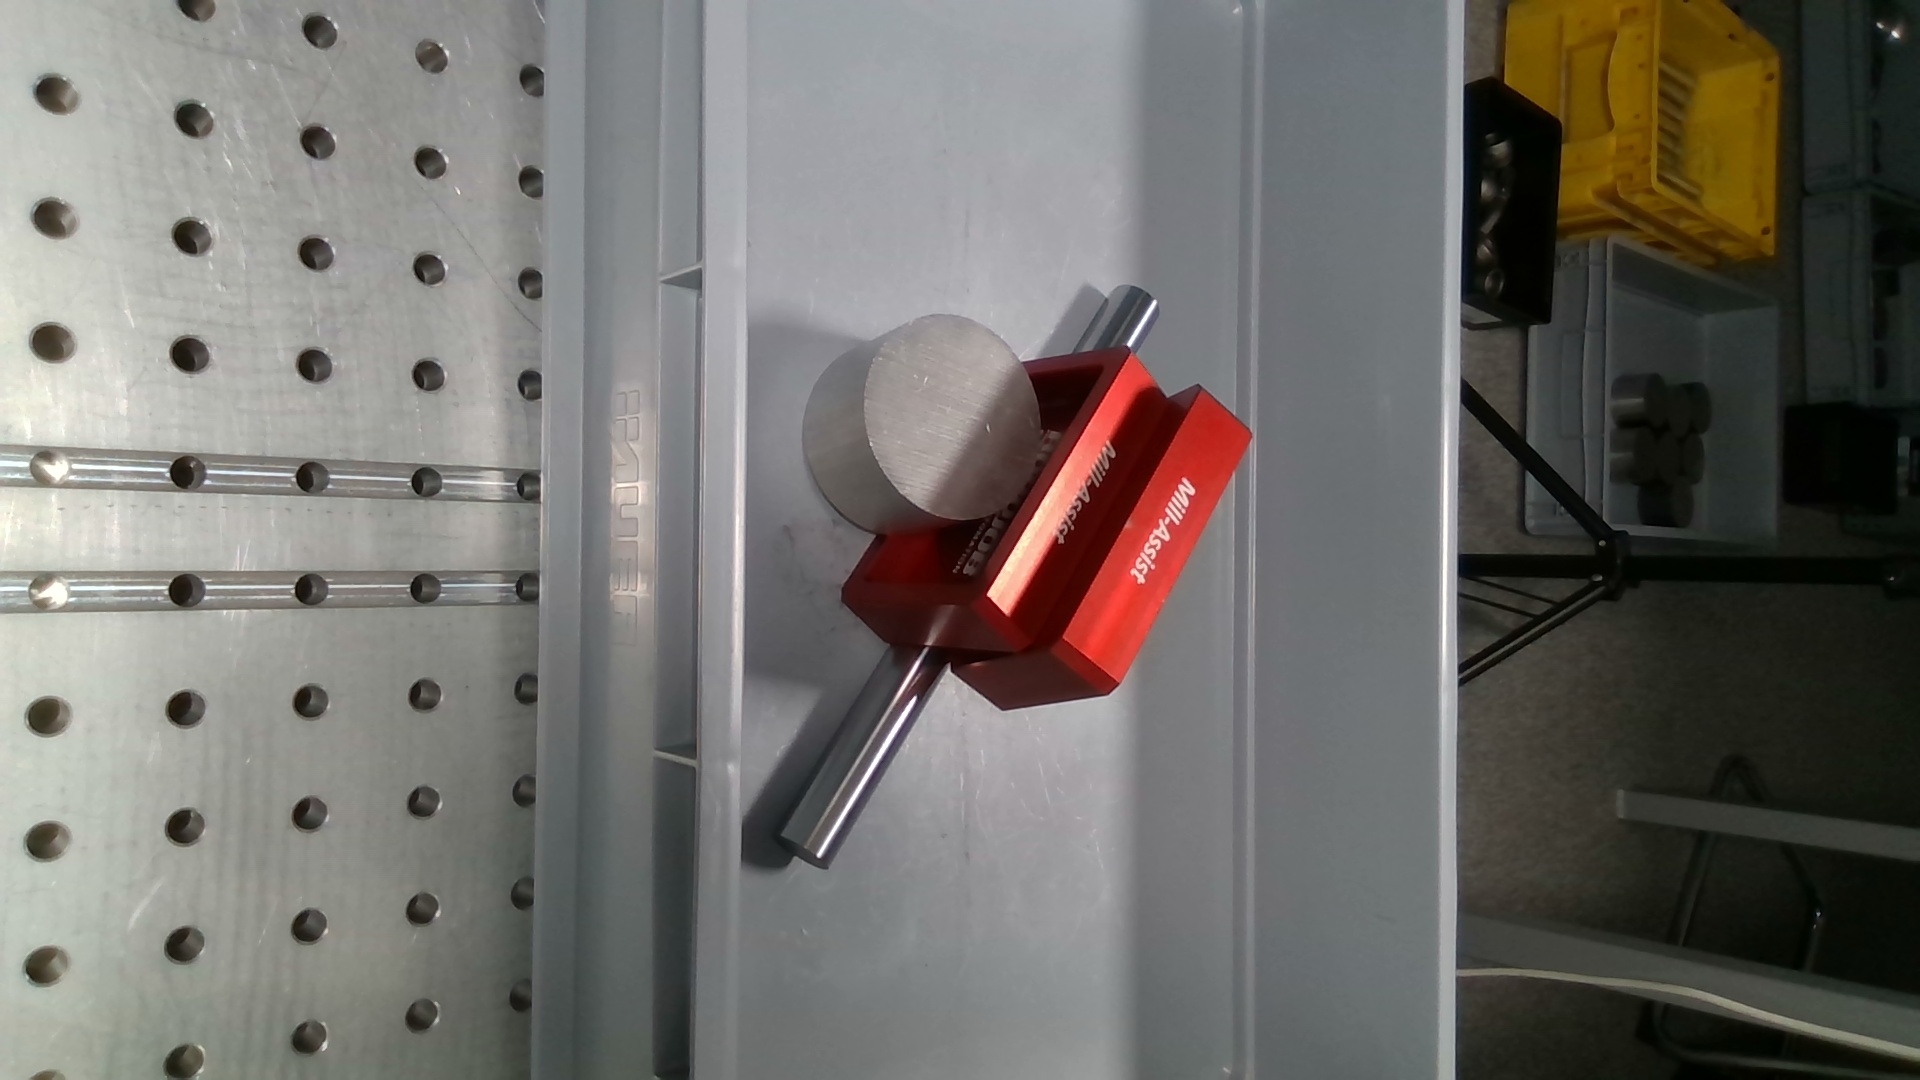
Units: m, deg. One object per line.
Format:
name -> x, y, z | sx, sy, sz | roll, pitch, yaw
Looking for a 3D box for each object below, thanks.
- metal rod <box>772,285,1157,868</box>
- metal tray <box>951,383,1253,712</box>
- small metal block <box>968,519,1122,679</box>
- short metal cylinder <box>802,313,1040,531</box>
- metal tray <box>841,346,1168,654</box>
metal rod -> 0.010, 0.005, 0.592 | 0.025, 0.025, 0.299 | 47, 62, -30
metal tray -> 0.056, 0.005, 0.554 | 0.030, 0.090, 0.130 | 39, 65, -15
small metal block -> 0.039, 0.026, 0.614 | 0.050, 0.025, 0.050 | 48, 61, -29
short metal cylinder -> -0.015, -0.044, 0.545 | 0.080, 0.050, 0.080 | 4, 82, -33
metal tray -> 0.018, -0.017, 0.554 | 0.030, 0.090, 0.130 | 47, 62, -30
